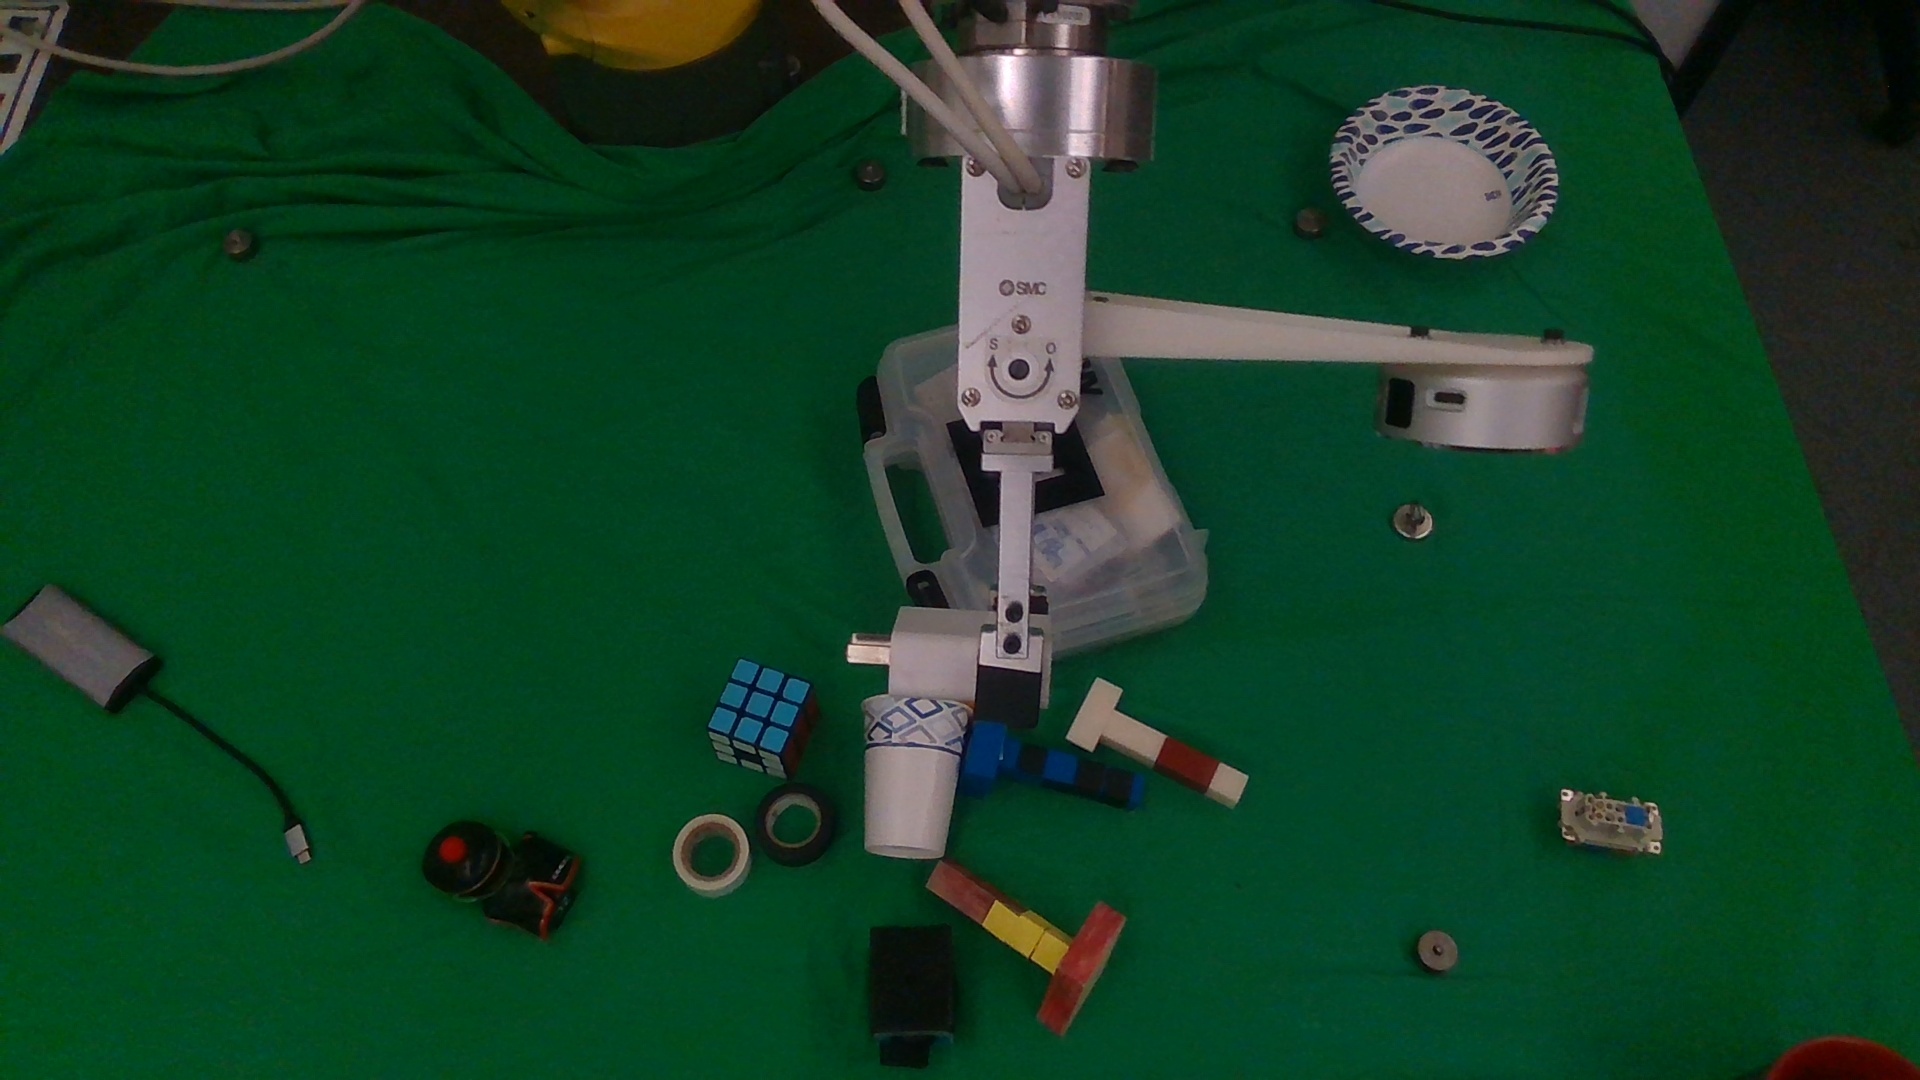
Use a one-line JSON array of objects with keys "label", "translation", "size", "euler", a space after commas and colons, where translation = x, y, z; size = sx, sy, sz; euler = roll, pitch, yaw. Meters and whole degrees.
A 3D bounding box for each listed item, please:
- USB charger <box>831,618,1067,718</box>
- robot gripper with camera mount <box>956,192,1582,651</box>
[{"label": "USB charger", "translation": [-0.004, 0.041, 0.457], "size": [0.075, 0.044, 0.029], "euler": [0, 102, 0]}, {"label": "robot gripper with camera mount", "translation": [0.097, -0.030, 0.454], "size": [0.193, 0.119, 0.158], "euler": [-1, 101, 1]}]
